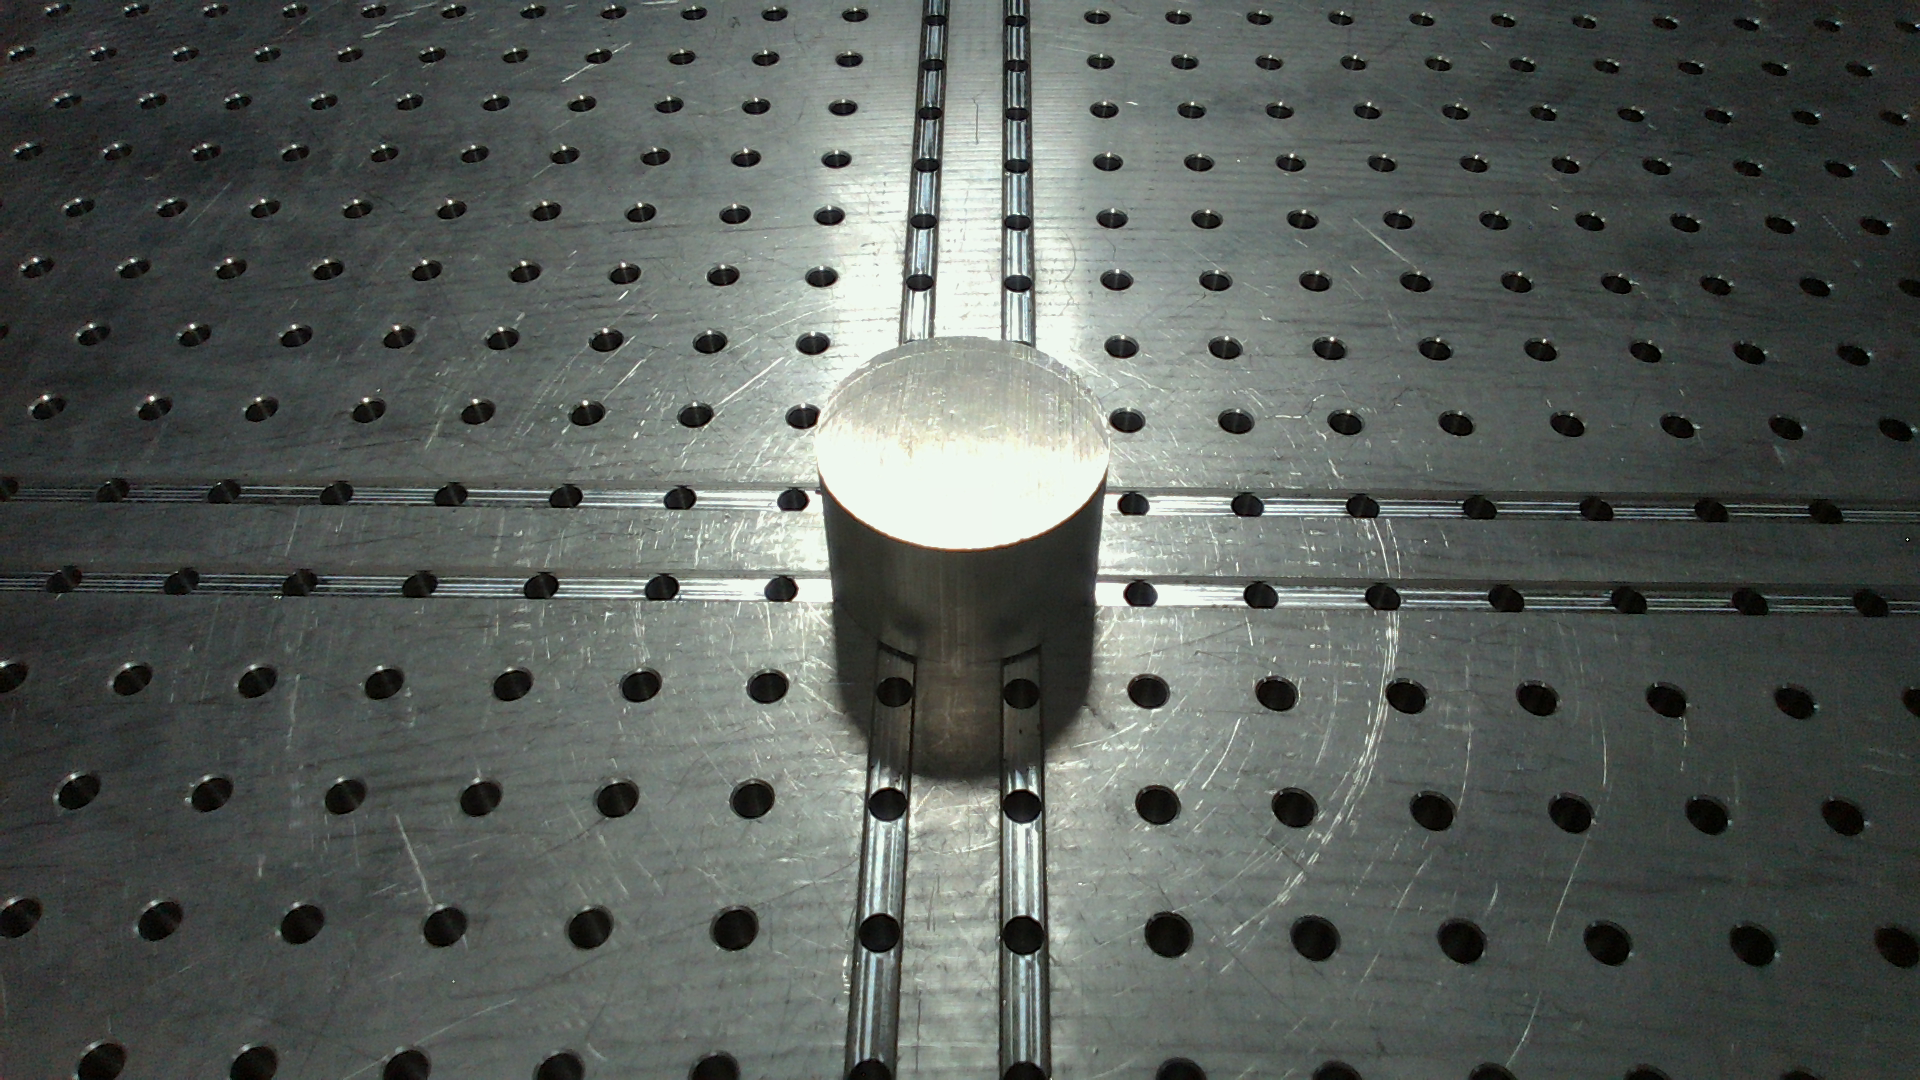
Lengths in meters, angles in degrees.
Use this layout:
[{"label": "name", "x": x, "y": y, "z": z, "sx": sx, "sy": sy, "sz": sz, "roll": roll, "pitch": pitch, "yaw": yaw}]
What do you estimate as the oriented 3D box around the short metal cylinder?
[{"label": "short metal cylinder", "x": 0.001, "y": -0.013, "z": 0.388, "sx": 0.080, "sy": 0.050, "sz": 0.080, "roll": 0, "pitch": 50, "yaw": 0}]
